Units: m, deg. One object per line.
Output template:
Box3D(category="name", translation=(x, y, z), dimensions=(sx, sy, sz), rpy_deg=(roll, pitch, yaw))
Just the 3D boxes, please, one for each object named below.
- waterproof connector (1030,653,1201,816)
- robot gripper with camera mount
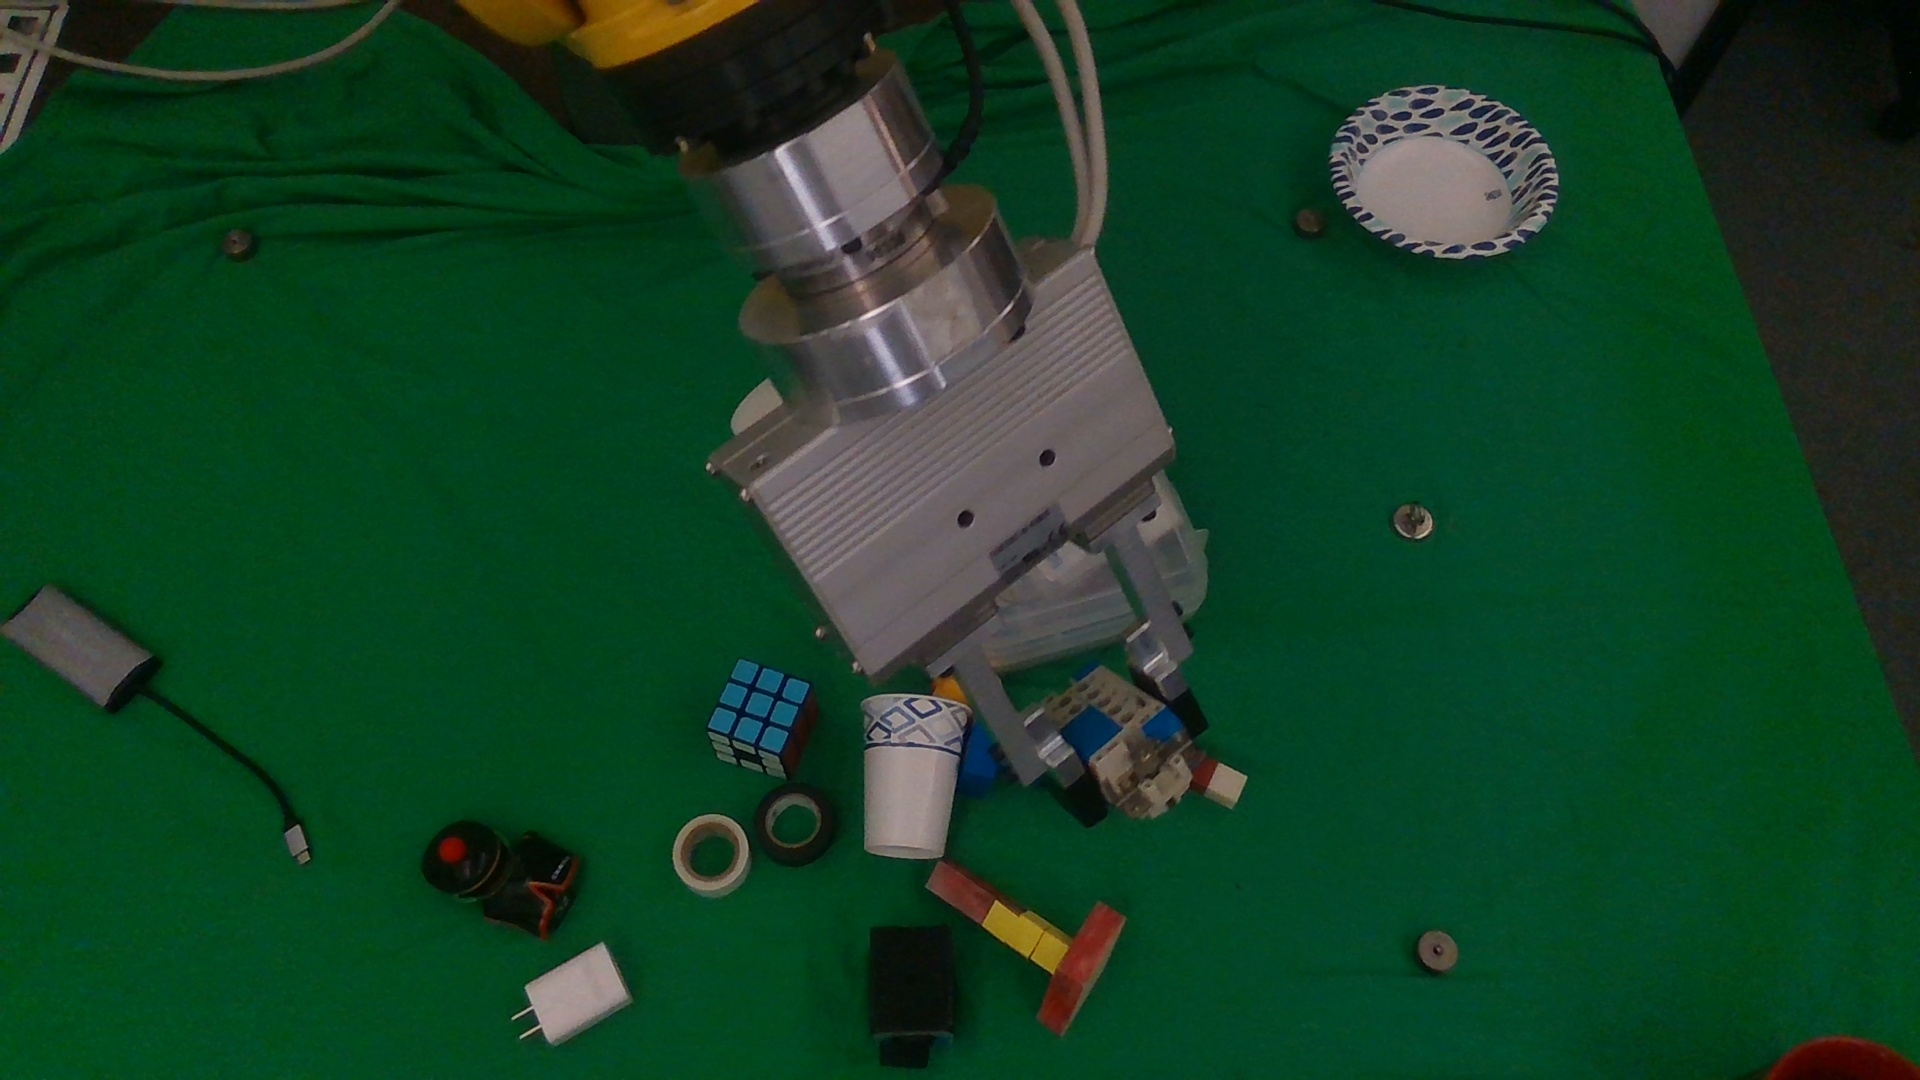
Box3D(category="waterproof connector", translation=(0.051, 0.067, 0.466), dimensions=(0.035, 0.037, 0.065), rpy_deg=(-31, 28, -11))
Box3D(category="robot gripper with camera mount", translation=(-0.019, 0.002, 0.486), dimensions=(0.119, 0.158, 0.194), rpy_deg=(-34, 30, -21))
